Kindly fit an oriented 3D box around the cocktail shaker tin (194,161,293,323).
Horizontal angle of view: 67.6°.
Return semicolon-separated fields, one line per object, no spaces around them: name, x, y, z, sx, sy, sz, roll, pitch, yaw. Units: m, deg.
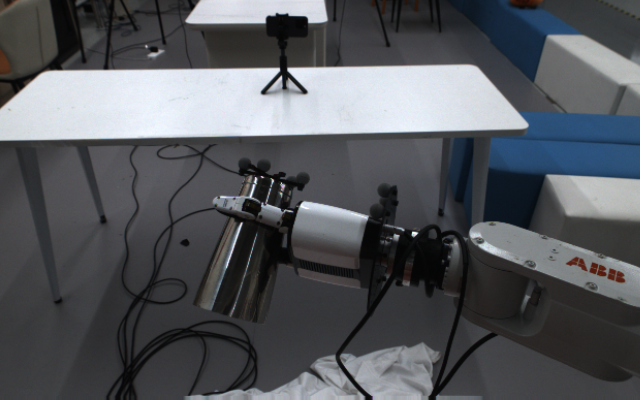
cocktail shaker tin;-0.086;0.057;0.607;0.093;0.093;0.170;13;77;15
